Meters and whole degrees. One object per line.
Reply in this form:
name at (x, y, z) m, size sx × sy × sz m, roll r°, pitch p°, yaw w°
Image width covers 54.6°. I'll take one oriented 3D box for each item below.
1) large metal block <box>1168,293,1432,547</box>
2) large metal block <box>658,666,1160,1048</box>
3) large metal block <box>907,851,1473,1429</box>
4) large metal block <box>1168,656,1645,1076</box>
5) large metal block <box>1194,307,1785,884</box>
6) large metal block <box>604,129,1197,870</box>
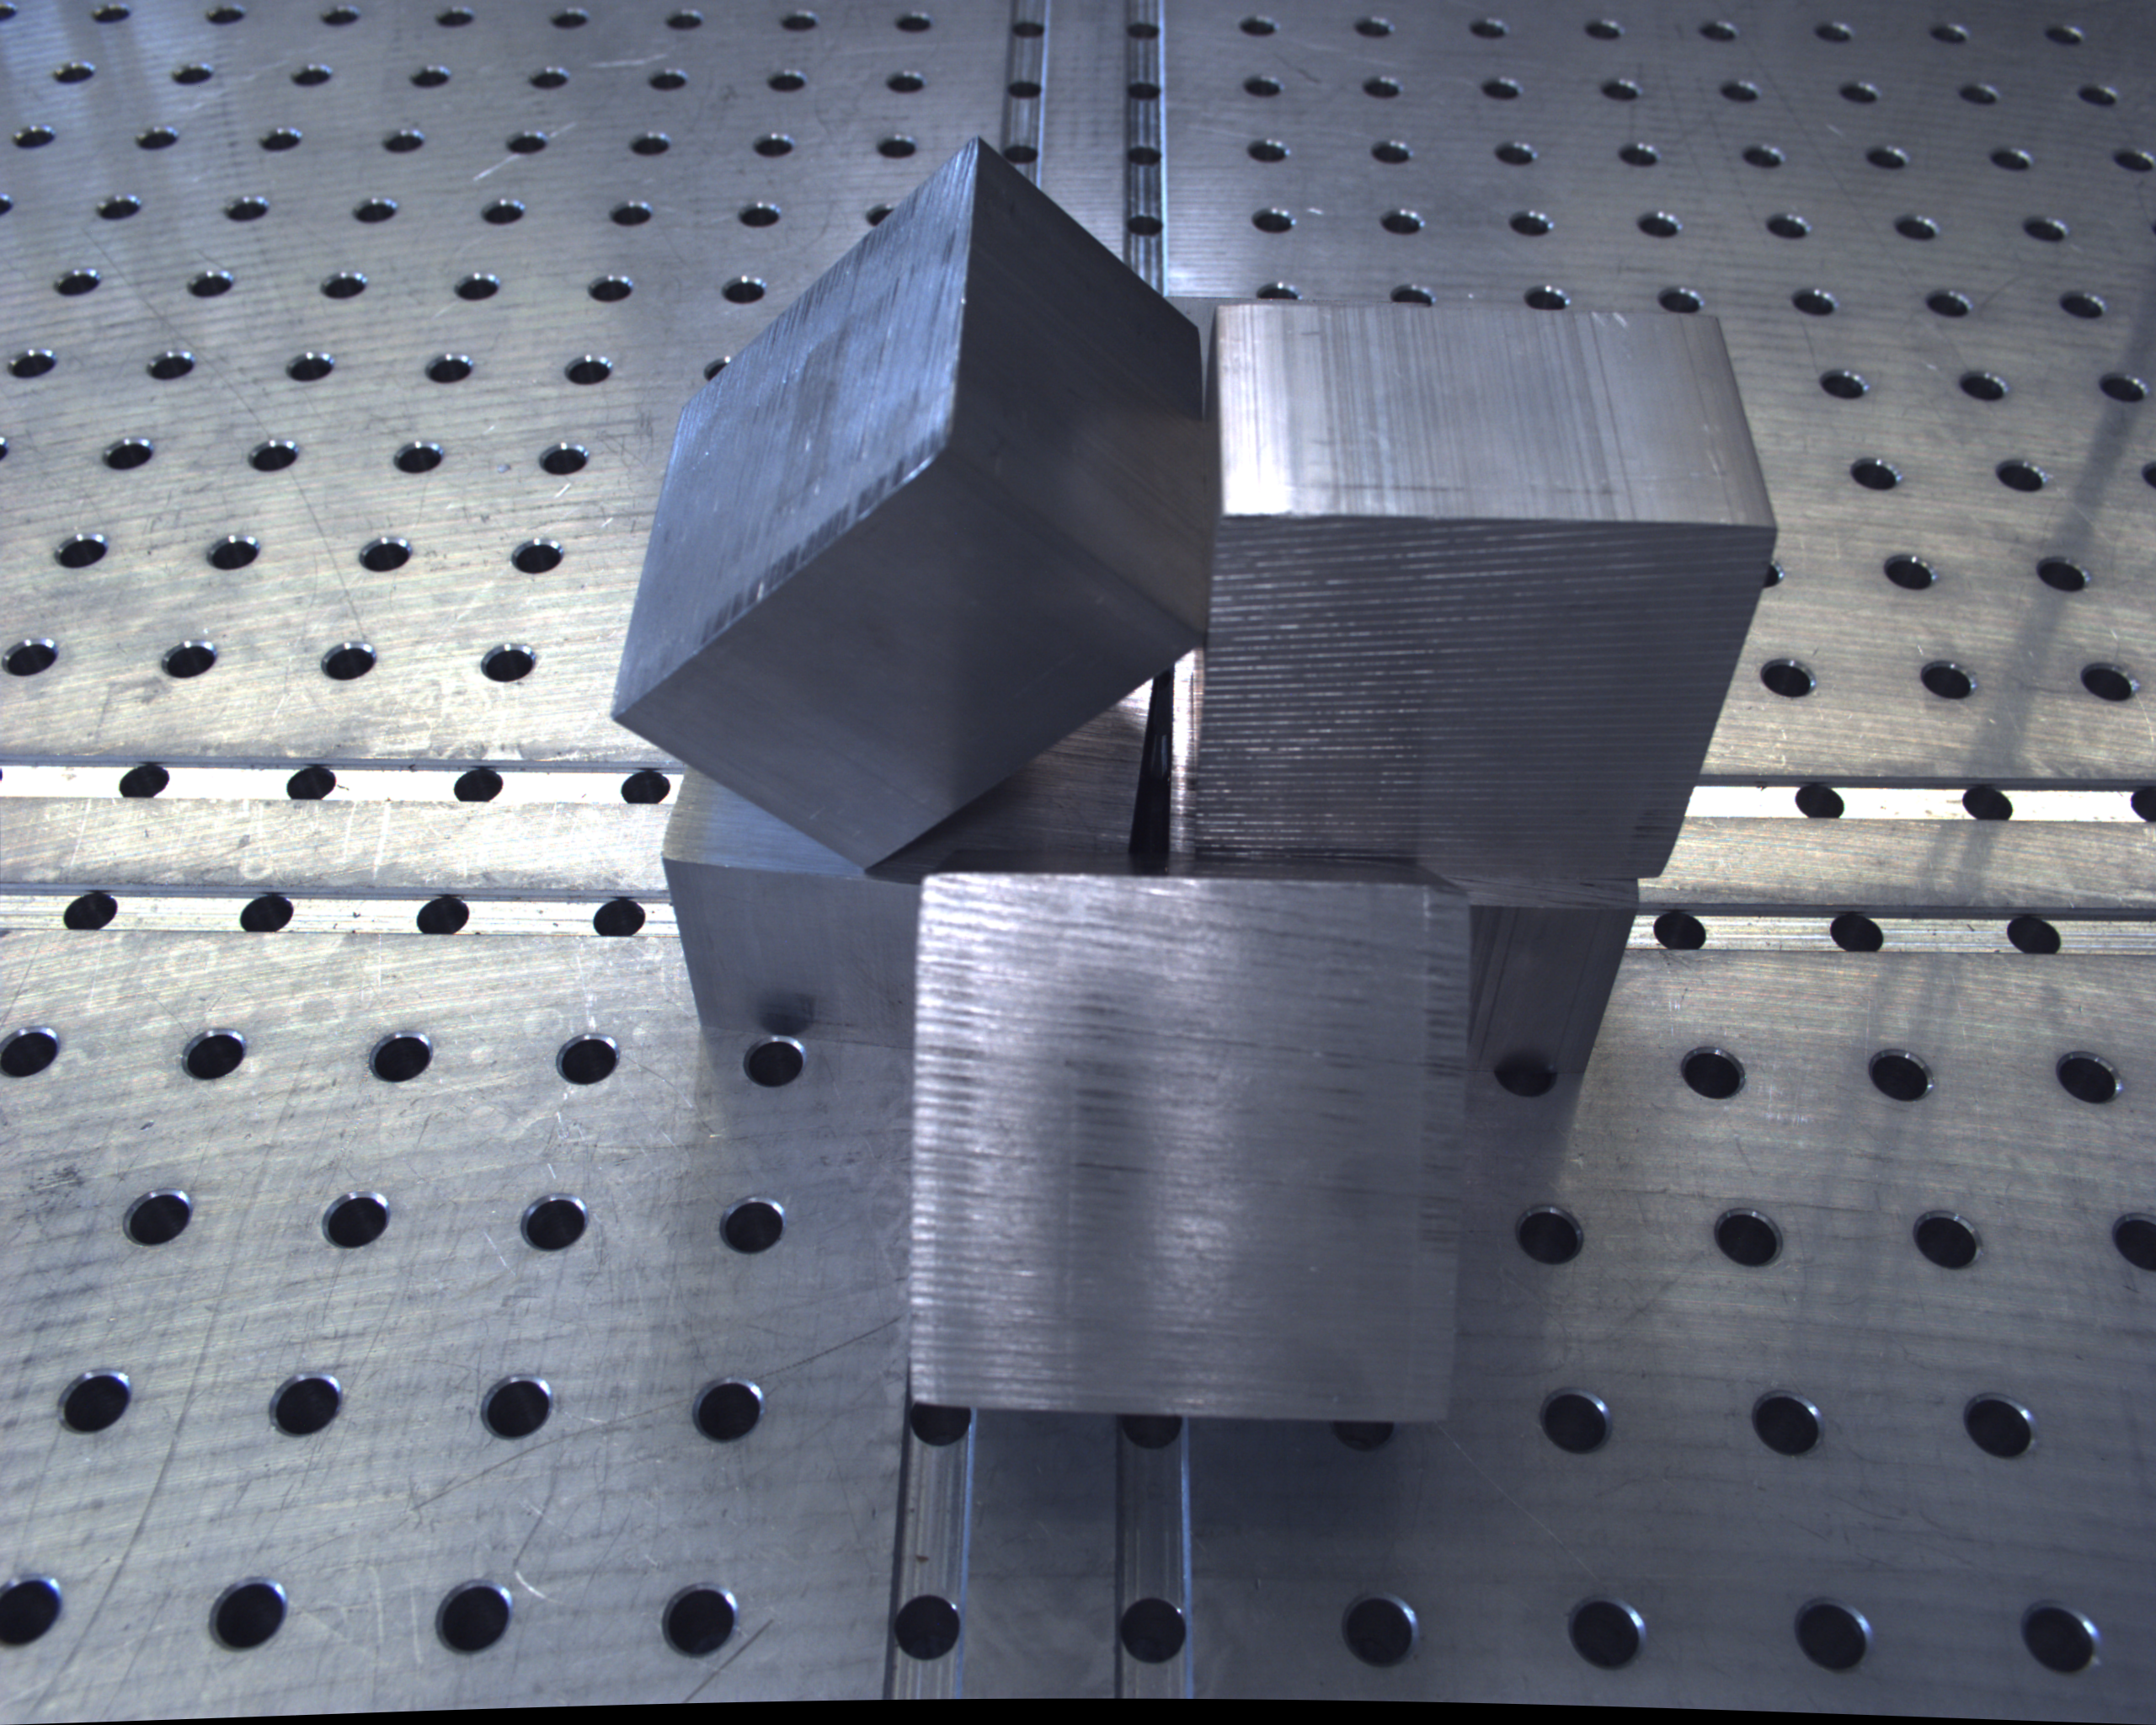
large metal block at (0.027, -0.081, 0.431) m, size 0.080 × 0.080 × 0.050 m, roll 2°, pitch 89°, yaw 1°
large metal block at (-0.027, -0.011, 0.401) m, size 0.080 × 0.050 × 0.080 m, roll 5°, pitch 50°, yaw 4°
large metal block at (0.017, 0.041, 0.331) m, size 0.080 × 0.050 × 0.080 m, roll 2°, pitch 95°, yaw 1°
large metal block at (0.058, -0.008, 0.398) m, size 0.080 × 0.050 × 0.080 m, roll 2°, pitch 50°, yaw 2°
large metal block at (0.061, -0.042, 0.343) m, size 0.080 × 0.080 × 0.050 m, roll 1°, pitch 50°, yaw 1°
large metal block at (-0.027, -0.058, 0.345) m, size 0.080 × 0.050 × 0.080 m, roll -31°, pitch 40°, yaw 33°
